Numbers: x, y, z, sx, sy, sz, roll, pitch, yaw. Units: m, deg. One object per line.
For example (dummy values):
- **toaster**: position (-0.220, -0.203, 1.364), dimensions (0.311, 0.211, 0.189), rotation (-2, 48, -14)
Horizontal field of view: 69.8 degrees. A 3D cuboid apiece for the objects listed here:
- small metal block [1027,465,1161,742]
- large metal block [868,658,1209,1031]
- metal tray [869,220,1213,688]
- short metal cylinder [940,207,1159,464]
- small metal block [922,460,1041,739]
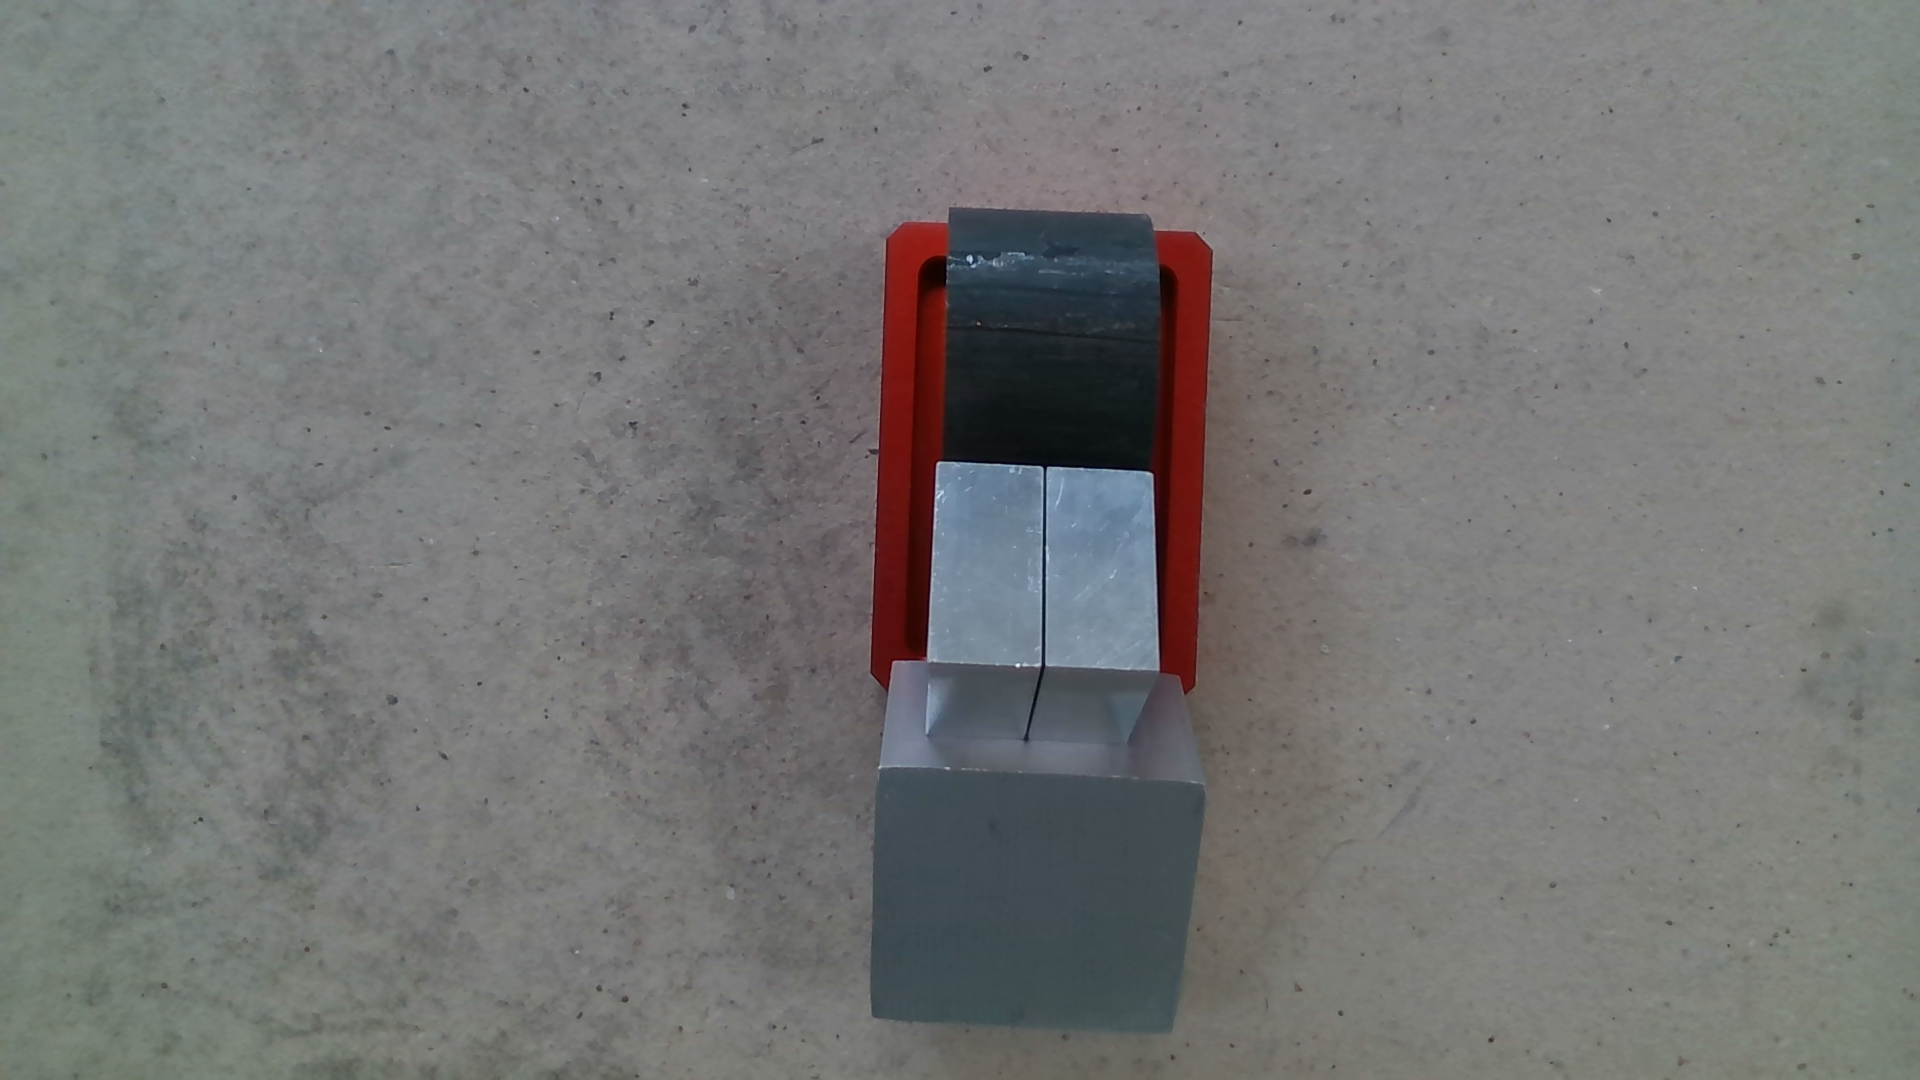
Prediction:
- **small metal block**: position (0.031, 0.017, 0.331), dimensions (0.025, 0.050, 0.050), rotation (2, 64, -1)
- **large metal block**: position (0.018, 0.081, 0.369), dimensions (0.080, 0.050, 0.080), rotation (3, 116, 0)
- **metal tray**: position (0.022, -0.021, 0.393), dimensions (0.090, 0.030, 0.130), rotation (2, 90, 0)
- **short metal cylinder**: position (0.021, -0.044, 0.355), dimensions (0.050, 0.080, 0.080), rotation (1, 90, 0)
- **small metal block**: position (0.005, 0.016, 0.330), dimensions (0.025, 0.050, 0.050), rotation (2, 64, -1)
